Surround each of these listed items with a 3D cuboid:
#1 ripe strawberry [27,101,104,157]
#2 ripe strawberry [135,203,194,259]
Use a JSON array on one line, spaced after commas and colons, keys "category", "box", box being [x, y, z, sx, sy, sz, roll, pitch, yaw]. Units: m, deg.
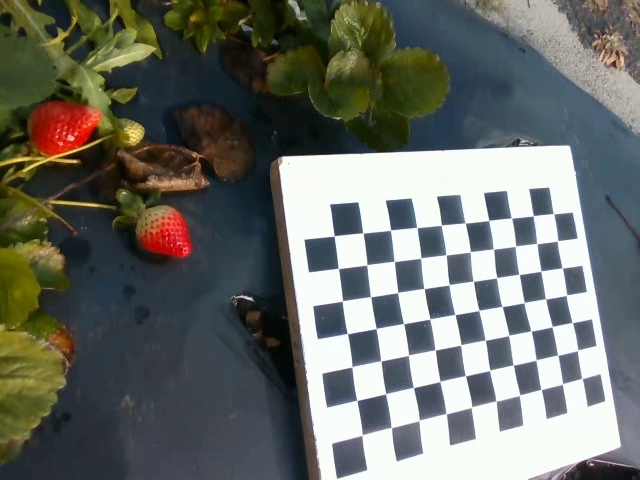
[{"category": "ripe strawberry", "box": [-0.156, -0.072, 0.369, 0.048, 0.040, 0.031, -20, 1, 16]}, {"category": "ripe strawberry", "box": [-0.100, -0.004, 0.388, 0.035, 0.043, 0.029, -46, 8, -24]}]
